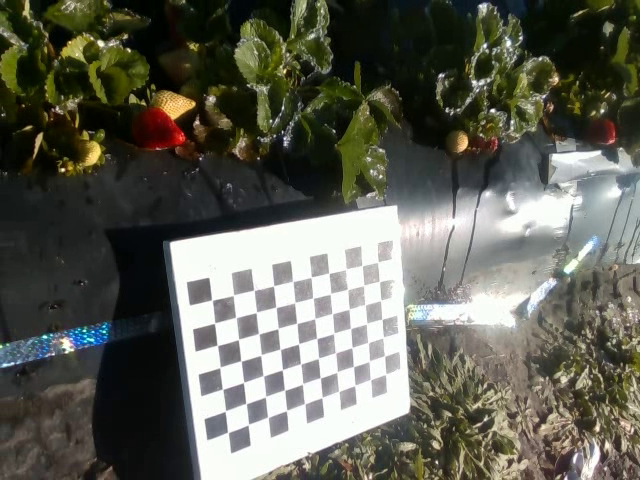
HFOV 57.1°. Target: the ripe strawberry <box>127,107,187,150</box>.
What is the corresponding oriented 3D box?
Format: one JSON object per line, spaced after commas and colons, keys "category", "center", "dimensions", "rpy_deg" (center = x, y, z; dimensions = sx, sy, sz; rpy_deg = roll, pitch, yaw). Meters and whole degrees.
{"category": "ripe strawberry", "center": [-0.135, -0.094, 0.501], "dimensions": [0.053, 0.040, 0.042], "rpy_deg": [24, -28, 31]}
